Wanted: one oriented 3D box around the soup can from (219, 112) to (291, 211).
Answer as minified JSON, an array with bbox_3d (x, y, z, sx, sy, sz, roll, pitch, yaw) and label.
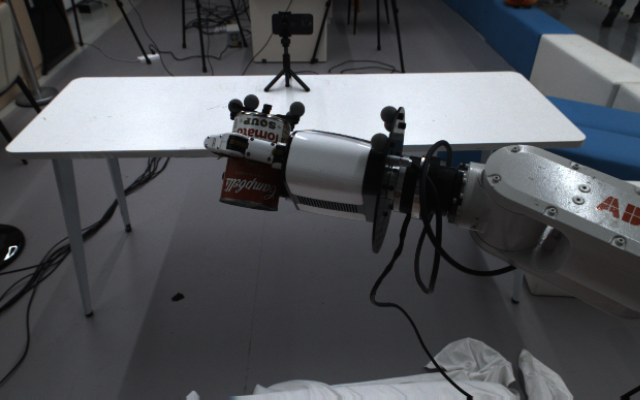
[{"bbox_3d":[-0.072,-0.042,0.555,0.067,0.101,0.067,9,-6,1],"label":"soup can"}]
